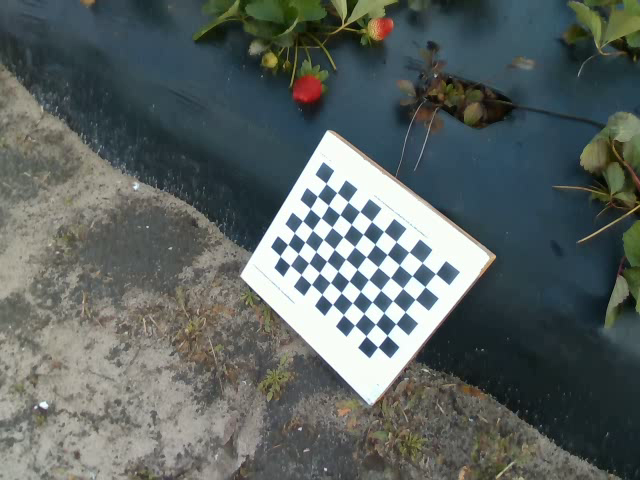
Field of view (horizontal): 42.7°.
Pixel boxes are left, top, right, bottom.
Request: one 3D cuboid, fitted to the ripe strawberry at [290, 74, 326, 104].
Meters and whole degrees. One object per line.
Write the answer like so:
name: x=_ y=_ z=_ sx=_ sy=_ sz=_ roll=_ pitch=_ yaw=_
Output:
ripe strawberry: x=-0.016 y=-0.214 z=1.140 sx=0.045 sy=0.042 sz=0.055 roll=-15 pitch=19 yaw=34
